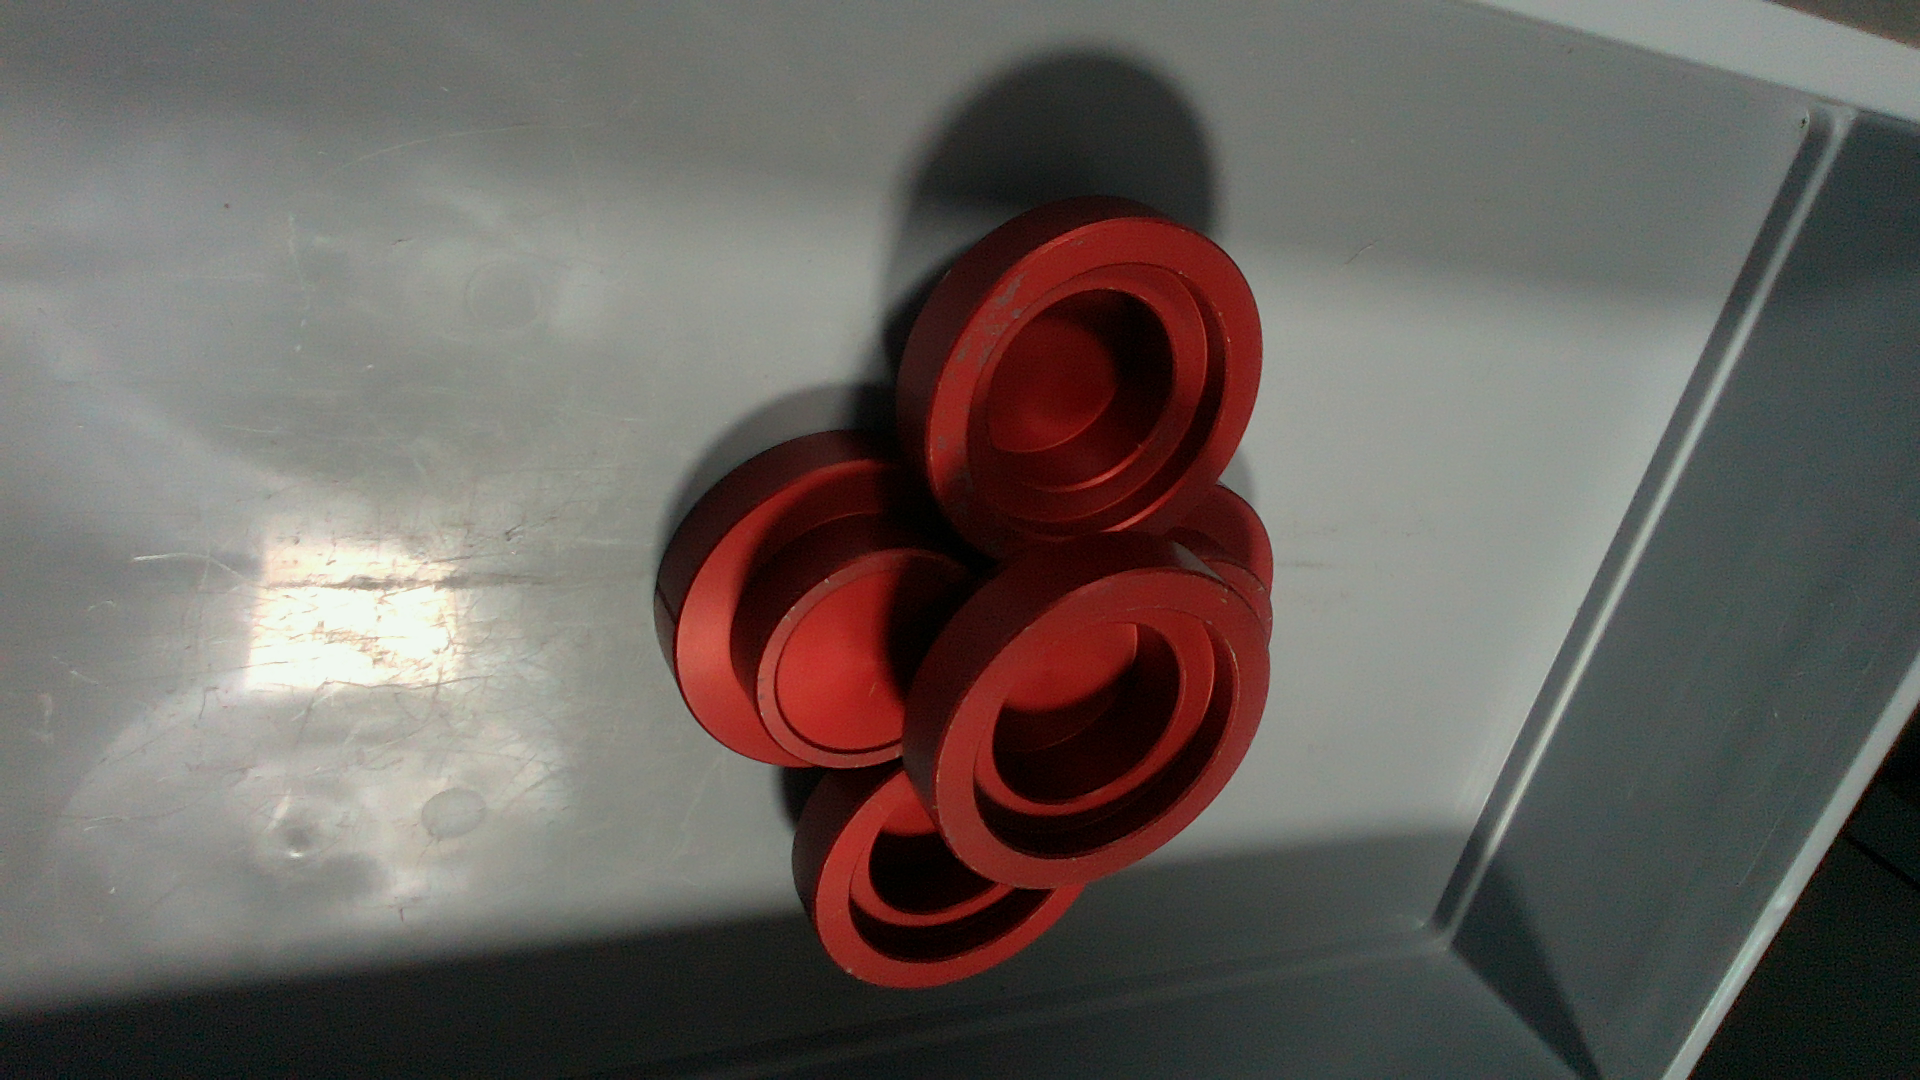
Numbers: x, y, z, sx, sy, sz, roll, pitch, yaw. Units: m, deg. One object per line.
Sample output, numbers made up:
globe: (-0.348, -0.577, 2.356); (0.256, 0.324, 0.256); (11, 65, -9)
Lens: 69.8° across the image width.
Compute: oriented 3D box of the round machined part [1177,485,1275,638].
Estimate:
round machined part: (0.056, 0.026, 0.422); (0.098, 0.042, 0.098); (-14, 124, -21)

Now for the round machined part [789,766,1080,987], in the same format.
round machined part: (-0.006, 0.087, 0.426); (0.098, 0.042, 0.098); (-14, 124, -21)

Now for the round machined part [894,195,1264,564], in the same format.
round machined part: (0.028, -0.043, 0.364); (0.098, 0.042, 0.098); (-14, 124, -21)

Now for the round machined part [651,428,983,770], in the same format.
round machined part: (-0.030, 0.023, 0.374); (0.098, 0.042, 0.098); (-14, 124, -21)

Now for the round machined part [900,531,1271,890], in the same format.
round machined part: (0.029, 0.040, 0.362); (0.098, 0.042, 0.098); (-14, 124, -21)
